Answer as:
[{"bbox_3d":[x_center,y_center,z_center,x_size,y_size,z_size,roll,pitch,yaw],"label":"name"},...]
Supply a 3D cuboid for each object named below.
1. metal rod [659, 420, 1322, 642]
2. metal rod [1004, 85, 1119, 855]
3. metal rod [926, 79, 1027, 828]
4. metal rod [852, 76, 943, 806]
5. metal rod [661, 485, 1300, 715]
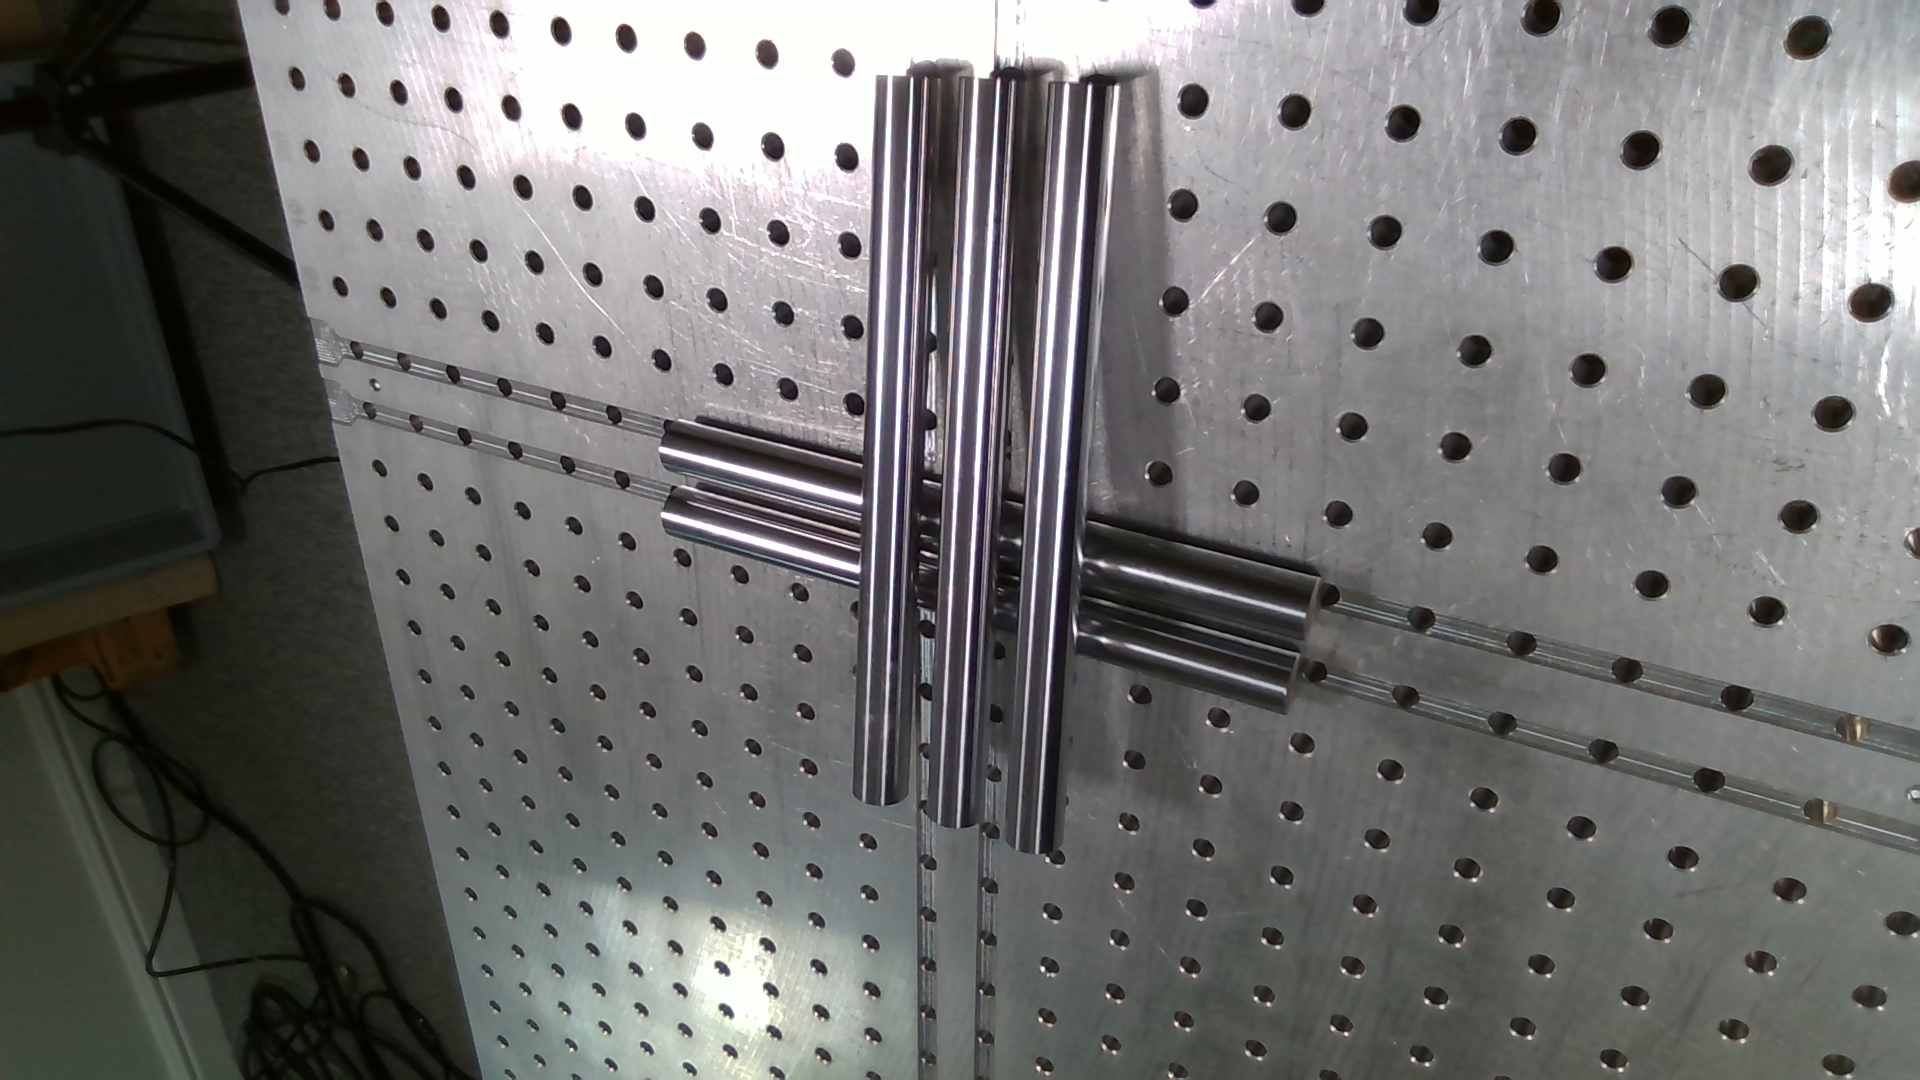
[{"bbox_3d":[0.000,-0.009,0.578,0.300,0.025,0.025,15,122,24],"label":"metal rod"},{"bbox_3d":[0.037,-0.015,0.526,0.025,0.025,0.301,13,113,26],"label":"metal rod"},{"bbox_3d":[0.005,-0.023,0.541,0.025,0.025,0.301,13,113,25],"label":"metal rod"},{"bbox_3d":[-0.027,-0.029,0.557,0.025,0.025,0.301,14,113,25],"label":"metal rod"},{"bbox_3d":[-0.003,0.021,0.596,0.300,0.025,0.025,15,122,24],"label":"metal rod"}]
